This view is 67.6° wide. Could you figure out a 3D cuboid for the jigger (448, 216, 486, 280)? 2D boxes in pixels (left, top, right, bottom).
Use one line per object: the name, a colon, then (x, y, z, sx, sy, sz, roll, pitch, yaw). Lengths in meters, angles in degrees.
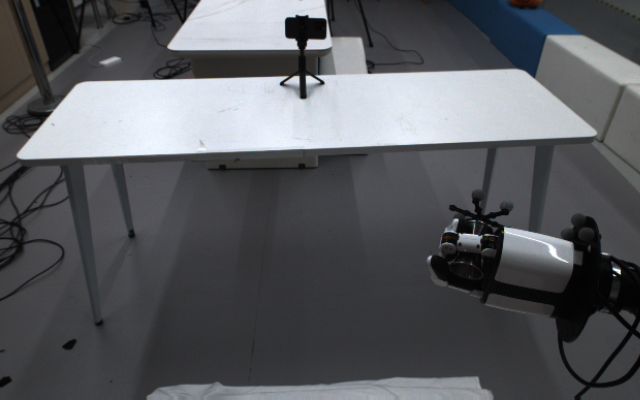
jigger: (0.203, 0.062, 0.641, 0.043, 0.043, 0.071, 16, 59, 19)
